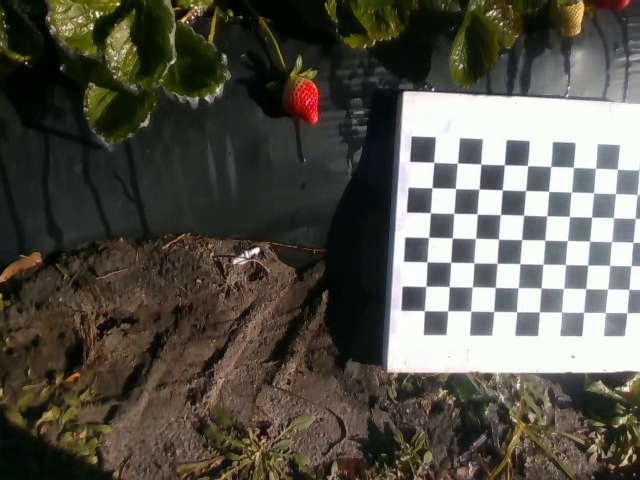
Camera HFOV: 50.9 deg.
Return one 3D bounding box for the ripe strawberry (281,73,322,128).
[{"bbox_3d":[-0.014,-0.124,0.598,0.039,0.053,0.041,-20,-8,-8],"label":"ripe strawberry"}]
